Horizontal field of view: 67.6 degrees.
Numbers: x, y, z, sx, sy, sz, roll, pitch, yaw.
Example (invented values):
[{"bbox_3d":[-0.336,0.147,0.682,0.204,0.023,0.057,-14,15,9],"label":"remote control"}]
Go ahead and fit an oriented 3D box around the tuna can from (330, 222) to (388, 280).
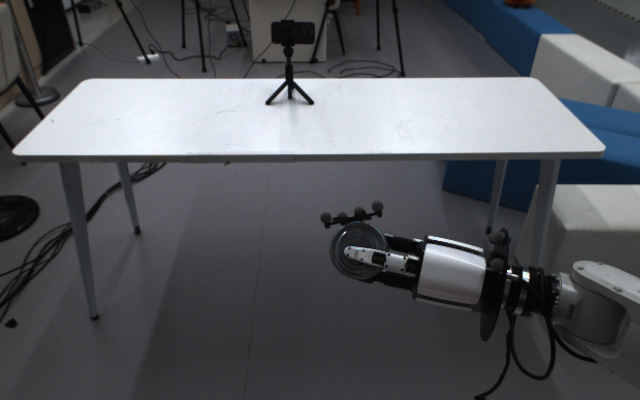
[{"bbox_3d":[0.062,0.080,0.709,0.085,0.085,0.034,12,-6,14],"label":"tuna can"}]
